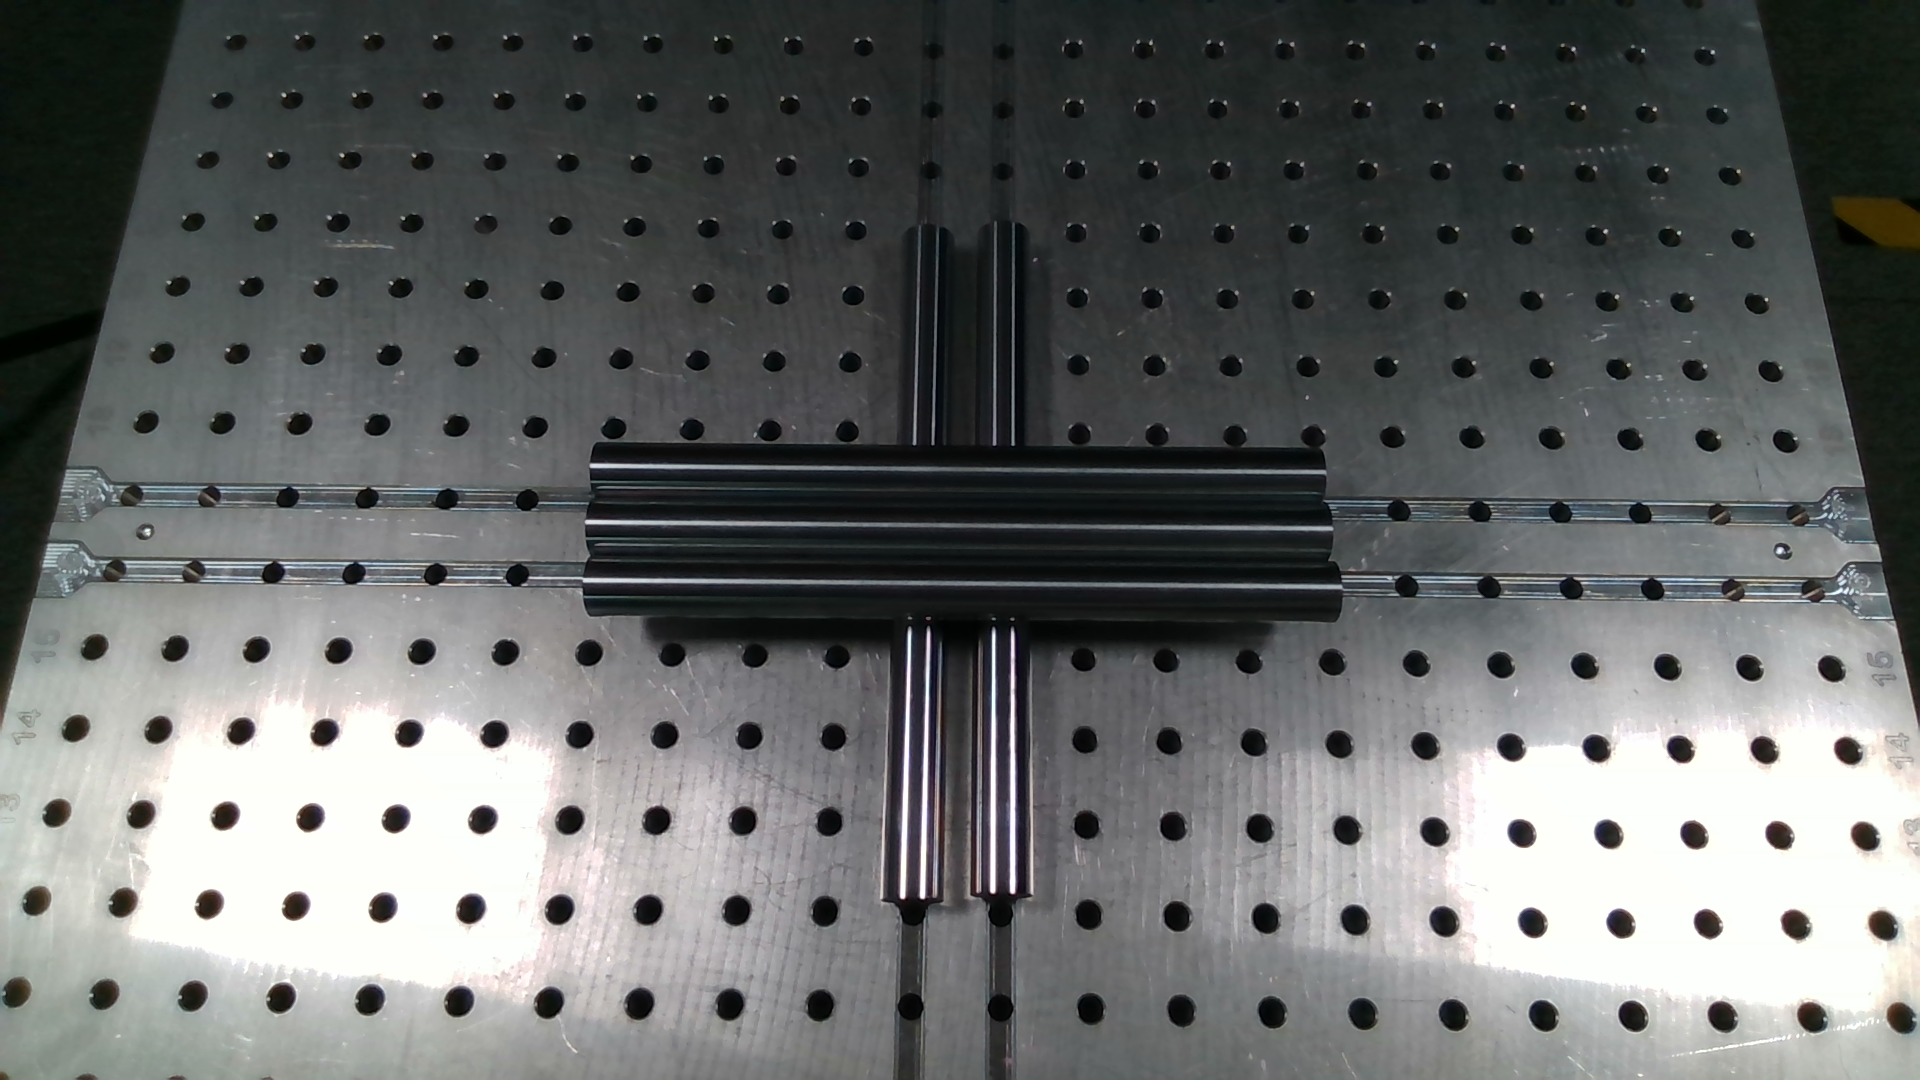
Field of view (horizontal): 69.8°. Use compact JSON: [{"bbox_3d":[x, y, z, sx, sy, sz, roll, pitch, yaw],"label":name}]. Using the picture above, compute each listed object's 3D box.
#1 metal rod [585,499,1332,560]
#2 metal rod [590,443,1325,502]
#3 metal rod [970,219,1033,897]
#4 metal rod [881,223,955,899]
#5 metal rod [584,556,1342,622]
[{"bbox_3d":[-0.001,-0.004,0.566,0.300,0.025,0.025,0,70,0],"label":"metal rod"},{"bbox_3d":[-0.001,-0.027,0.574,0.300,0.025,0.025,0,70,0],"label":"metal rod"},{"bbox_3d":[0.018,-0.002,0.591,0.025,0.025,0.299,1,70,0],"label":"metal rod"},{"bbox_3d":[-0.017,0.000,0.591,0.025,0.025,0.299,1,70,0],"label":"metal rod"},{"bbox_3d":[0.001,0.020,0.557,0.300,0.025,0.025,0,70,0],"label":"metal rod"}]
